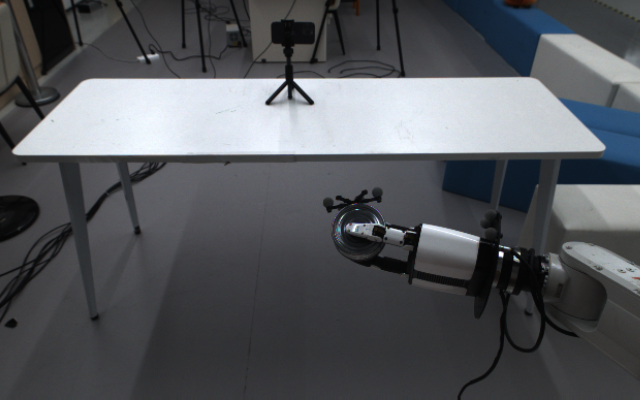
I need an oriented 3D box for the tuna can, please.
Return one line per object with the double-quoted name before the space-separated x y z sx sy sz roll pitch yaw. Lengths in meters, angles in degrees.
"tuna can" 0.064 0.055 0.744 0.085 0.034 0.085 -4 68 9
